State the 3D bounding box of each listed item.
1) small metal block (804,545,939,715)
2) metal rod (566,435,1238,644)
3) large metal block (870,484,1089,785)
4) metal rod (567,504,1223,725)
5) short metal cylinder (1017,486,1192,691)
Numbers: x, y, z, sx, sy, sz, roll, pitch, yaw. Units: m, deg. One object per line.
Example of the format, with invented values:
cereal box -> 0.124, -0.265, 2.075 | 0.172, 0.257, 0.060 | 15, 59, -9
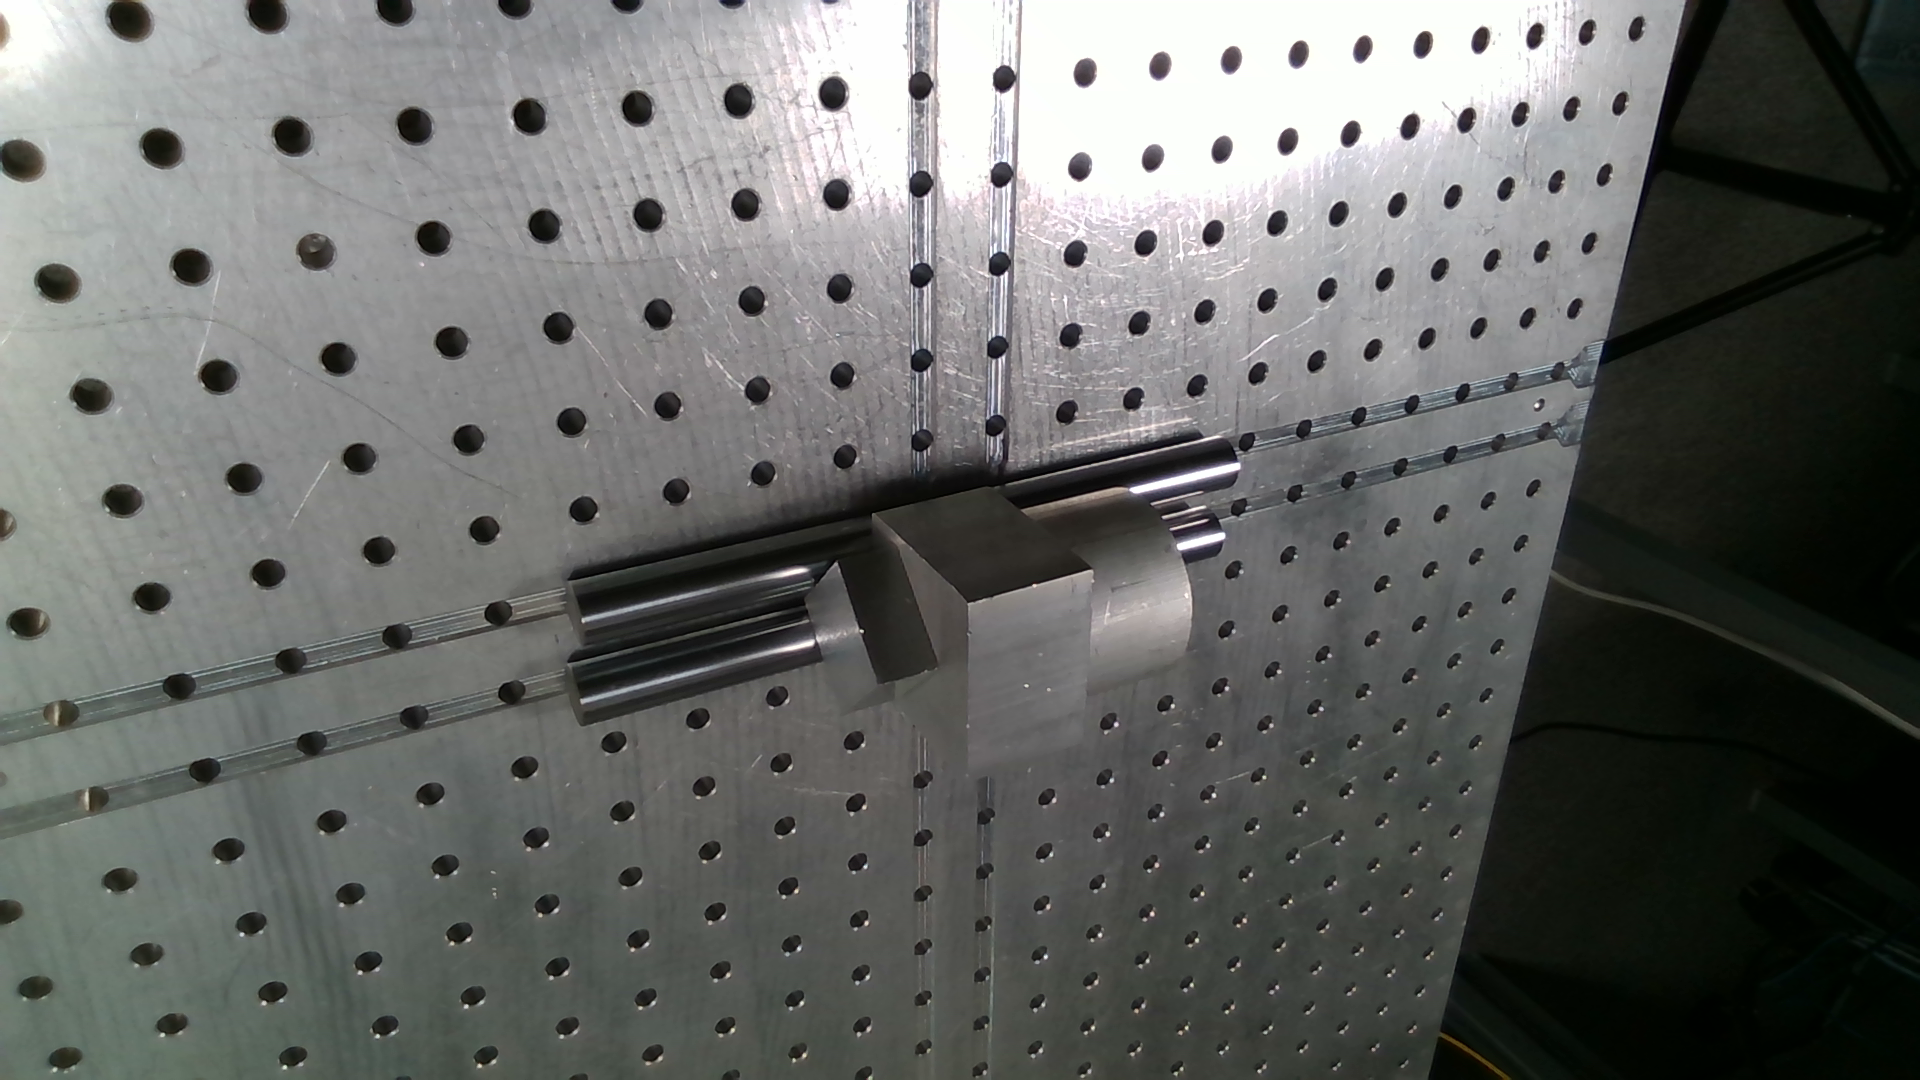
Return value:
small metal block -> -0.036, 0.036, 0.536 | 0.025, 0.050, 0.050 | -14, 166, -25
metal rod -> -0.011, -0.005, 0.576 | 0.300, 0.025, 0.025 | -14, 121, -25
large metal block -> 0.006, 0.035, 0.539 | 0.050, 0.080, 0.080 | -14, 121, -25
metal rod -> -0.015, 0.027, 0.591 | 0.300, 0.025, 0.025 | -14, 121, -25
short metal cylinder -> 0.050, 0.022, 0.564 | 0.050, 0.080, 0.080 | -14, 121, -25
